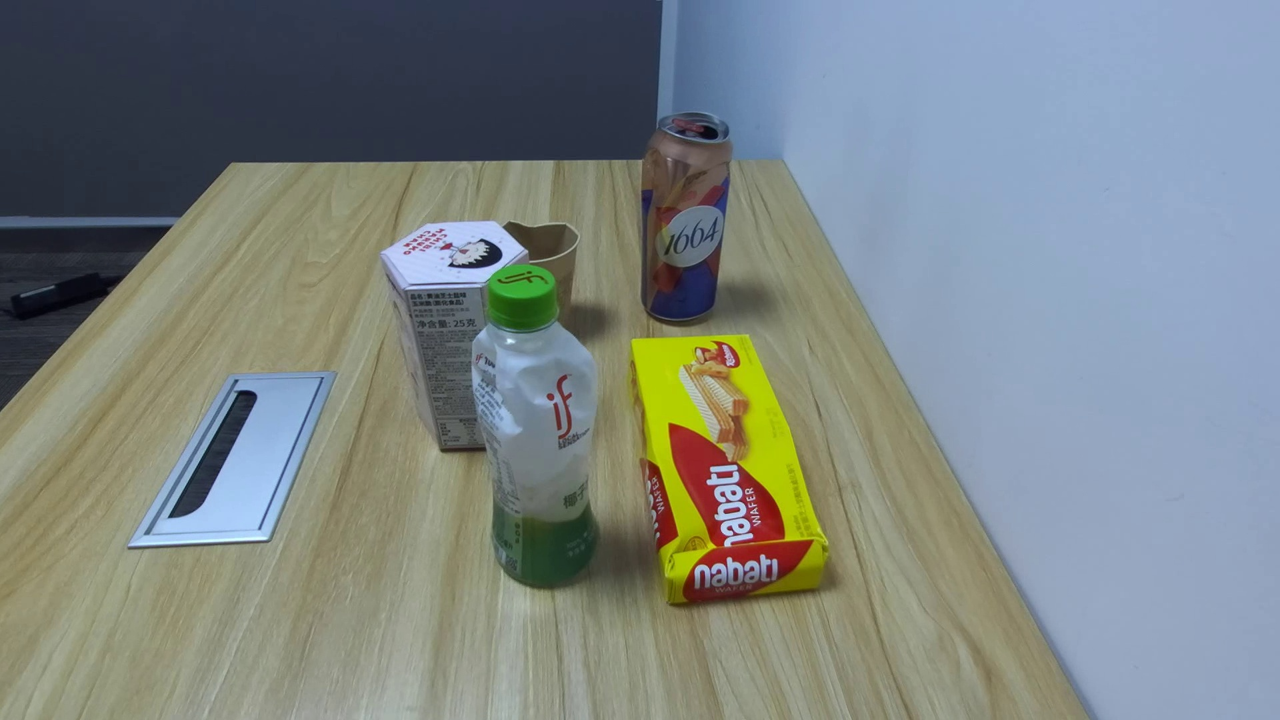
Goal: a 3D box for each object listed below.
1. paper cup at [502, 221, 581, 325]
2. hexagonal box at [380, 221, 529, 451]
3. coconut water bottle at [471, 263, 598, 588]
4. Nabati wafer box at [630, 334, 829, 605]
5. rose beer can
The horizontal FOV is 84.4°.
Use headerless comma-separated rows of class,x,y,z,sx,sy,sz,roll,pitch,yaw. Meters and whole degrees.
paper cup,-0.086,-0.064,0.582,0.068,0.081,0.073,25,45,25
hexagonal box,-0.115,-0.015,0.476,0.083,0.136,0.091,18,42,21
coconut water bottle,-0.054,0.039,0.372,0.067,0.187,0.067,1,37,0
Nabati wafer box,0.050,0.059,0.468,0.096,0.042,0.203,-2,40,-6
rose beer can,0.037,-0.111,0.577,0.076,0.167,0.065,-17,43,-26
